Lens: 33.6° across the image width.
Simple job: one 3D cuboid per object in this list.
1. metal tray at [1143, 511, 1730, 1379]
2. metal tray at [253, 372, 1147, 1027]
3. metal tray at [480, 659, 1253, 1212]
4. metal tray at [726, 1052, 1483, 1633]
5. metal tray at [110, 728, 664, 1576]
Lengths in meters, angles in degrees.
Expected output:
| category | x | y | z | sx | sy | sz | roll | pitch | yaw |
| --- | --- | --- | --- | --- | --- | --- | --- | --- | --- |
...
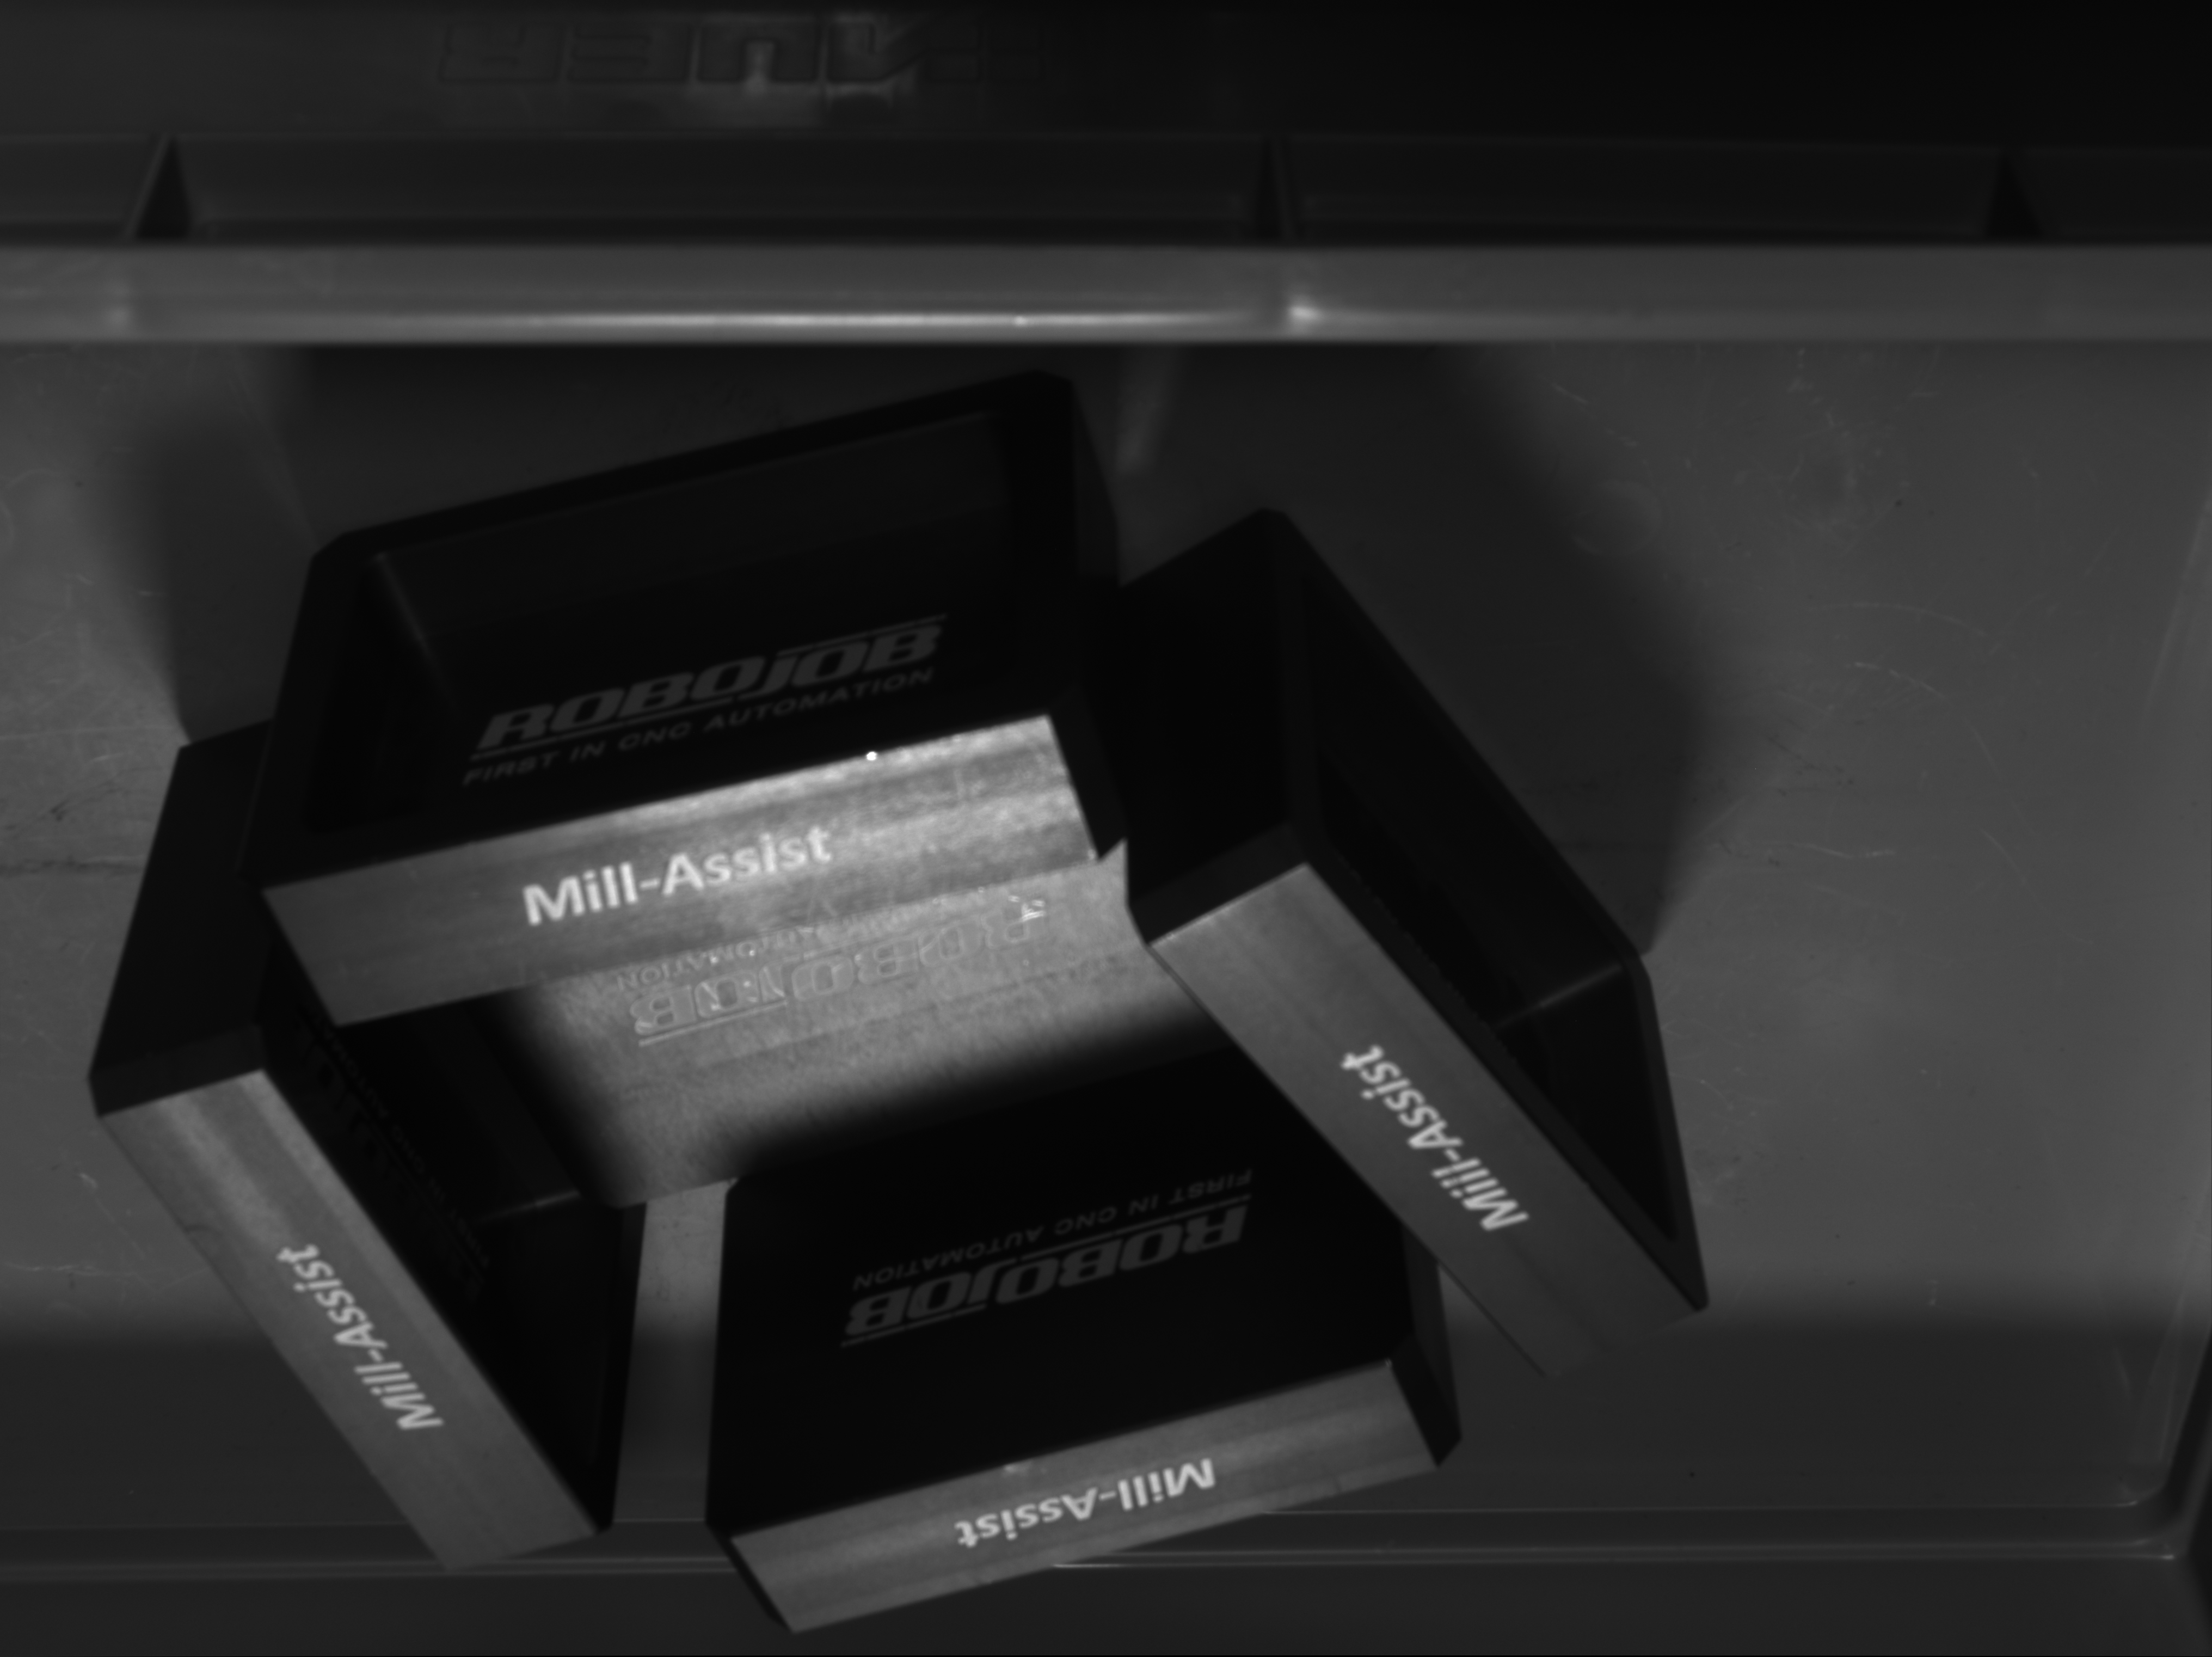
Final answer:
| category | x | y | z | sx | sy | sz | roll | pitch | yaw |
| --- | --- | --- | --- | --- | --- | --- | --- | --- | --- |
| metal tray | 0.055 | 0.020 | 0.613 | 0.030 | 0.090 | 0.130 | -28 | 125 | 21 |
| metal tray | -0.061 | -0.022 | 0.574 | 0.130 | 0.090 | 0.030 | -12 | 129 | 8 |
| metal tray | -0.044 | 0.013 | 0.641 | 0.130 | 0.030 | 0.090 | -16 | 129 | 11 |
| metal tray | -0.002 | 0.088 | 0.668 | 0.130 | 0.090 | 0.030 | -16 | 129 | 11 |
| metal tray | -0.120 | 0.055 | 0.636 | 0.030 | 0.090 | 0.130 | -16 | 129 | 12 |
